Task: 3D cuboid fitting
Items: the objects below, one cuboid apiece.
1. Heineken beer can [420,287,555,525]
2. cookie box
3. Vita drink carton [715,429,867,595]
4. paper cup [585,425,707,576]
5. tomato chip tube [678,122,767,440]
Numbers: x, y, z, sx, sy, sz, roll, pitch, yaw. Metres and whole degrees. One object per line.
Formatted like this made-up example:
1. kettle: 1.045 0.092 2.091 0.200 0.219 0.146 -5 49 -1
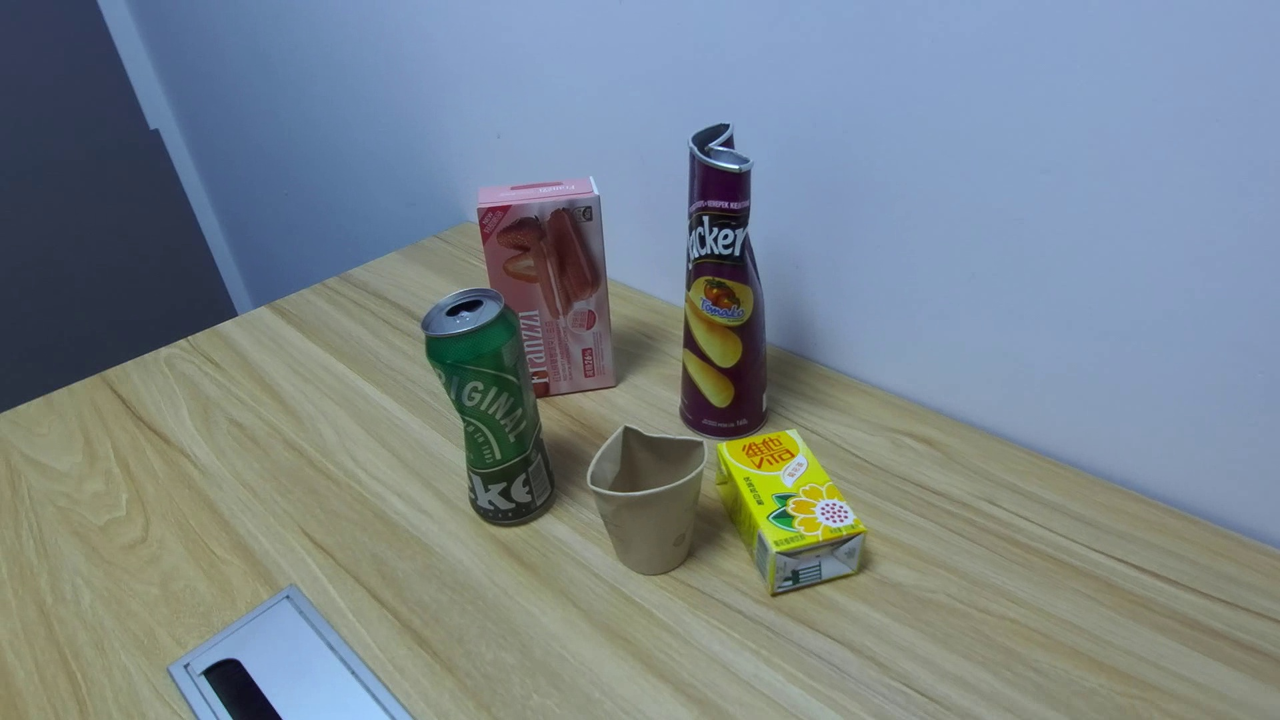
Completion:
1. Heineken beer can: -0.105 0.037 0.498 0.069 0.169 0.068 21 43 38
2. cookie box: -0.076 -0.056 0.608 0.096 0.185 0.048 -8 33 -6
3. Vita drink carton: 0.101 0.101 0.491 0.067 0.043 0.108 -9 34 -11
4. paper cup: 0.007 0.097 0.469 0.071 0.084 0.066 7 36 18
5. tomato chip tube: 0.068 -0.051 0.542 0.076 0.235 0.078 27 44 37
